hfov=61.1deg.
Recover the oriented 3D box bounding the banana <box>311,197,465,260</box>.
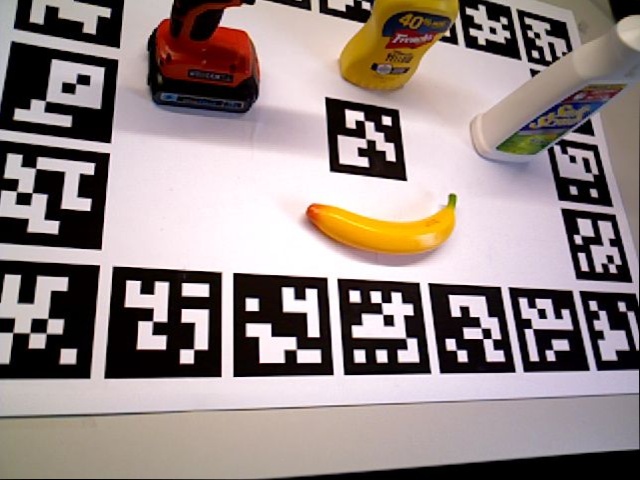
[{"bbox_3d":[0.084,-0.013,0.593,0.194,0.039,0.074,-2,74,-19],"label":"banana"}]

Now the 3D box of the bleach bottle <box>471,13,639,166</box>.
[{"bbox_3d":[0.290,-0.174,0.619,0.101,0.256,0.067,12,66,-18],"label":"bleach bottle"}]

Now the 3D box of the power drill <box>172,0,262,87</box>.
[{"bbox_3d":[-0.062,-0.217,0.496,0.182,0.191,0.057,-3,71,-19],"label":"power drill"}]

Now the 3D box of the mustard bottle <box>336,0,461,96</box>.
[{"bbox_3d":[0.098,-0.237,0.602,0.094,0.195,0.058,-4,72,-25],"label":"mustard bottle"}]
